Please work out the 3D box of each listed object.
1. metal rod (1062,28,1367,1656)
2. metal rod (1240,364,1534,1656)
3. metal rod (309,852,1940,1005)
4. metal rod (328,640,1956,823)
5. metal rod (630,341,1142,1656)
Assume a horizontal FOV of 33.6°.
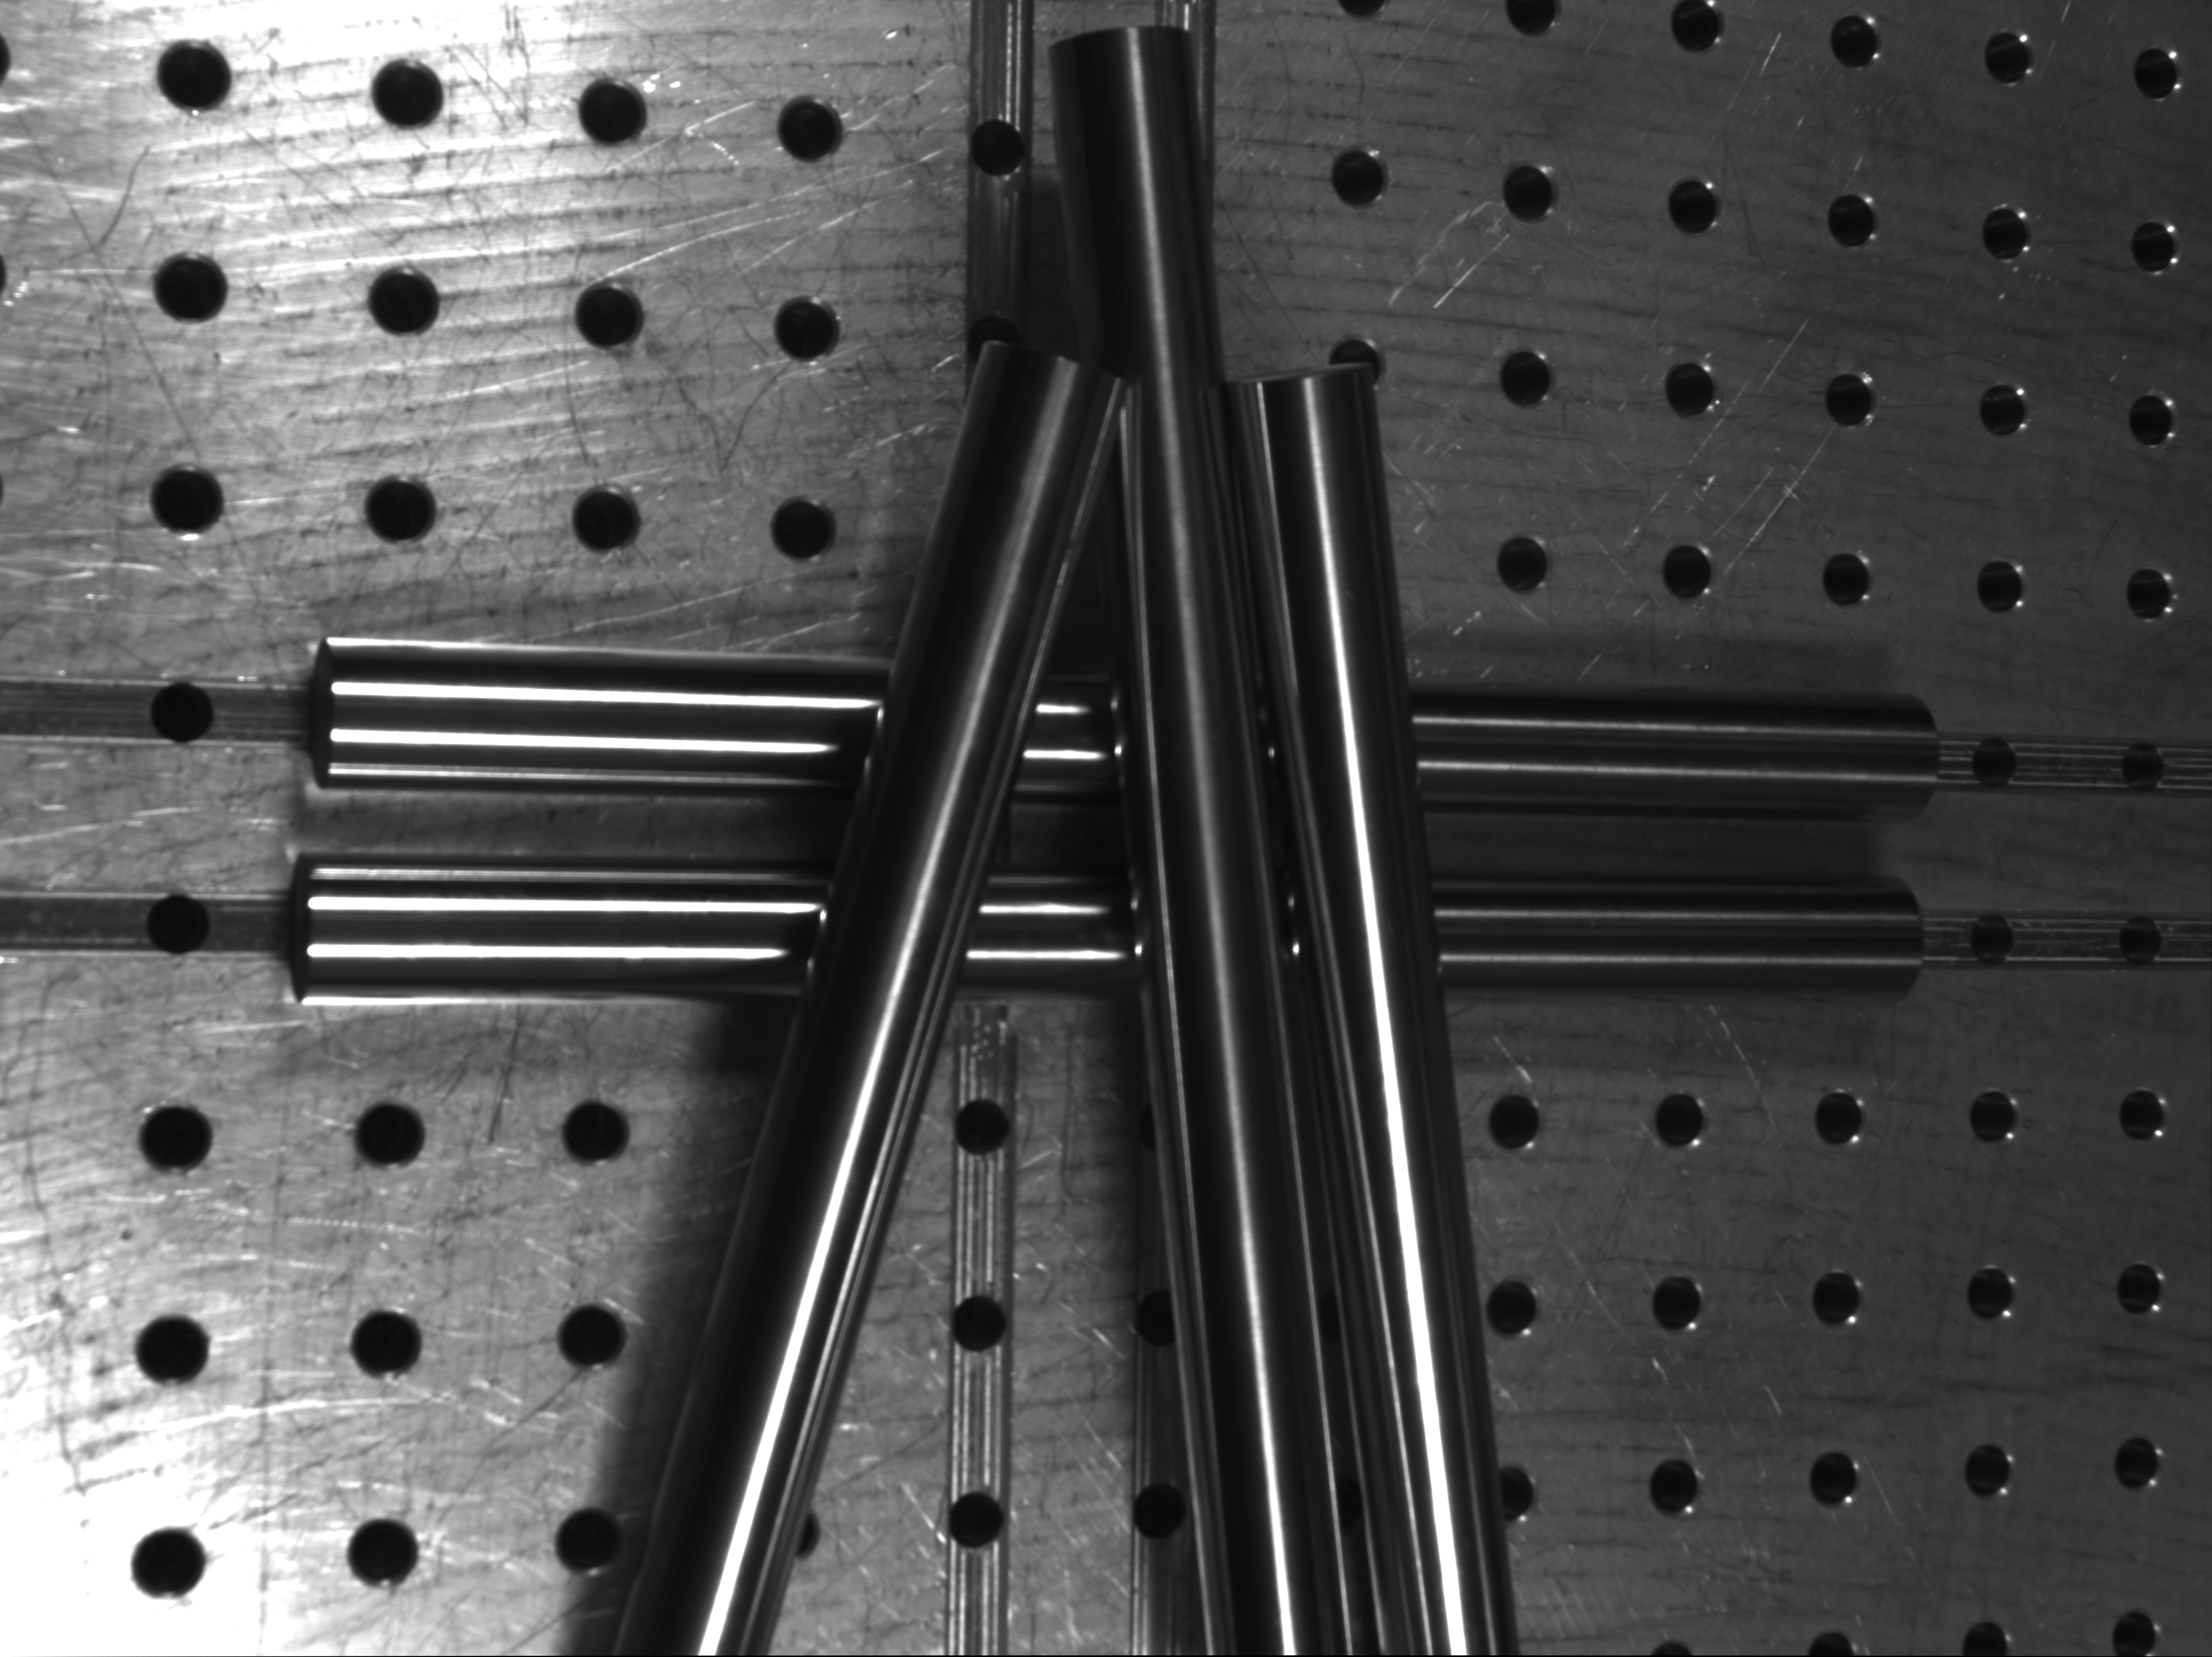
[{"bbox_3d":[0.020,0.016,0.627,0.025,0.025,0.300,-6,92,-20],"label":"metal rod"},{"bbox_3d":[0.054,0.069,0.645,0.025,0.025,0.300,-11,101,-19],"label":"metal rod"},{"bbox_3d":[0.012,0.019,0.650,0.301,0.025,0.025,1,90,-20],"label":"metal rod"},{"bbox_3d":[0.015,-0.016,0.652,0.301,0.025,0.025,1,90,-20],"label":"metal rod"},{"bbox_3d":[-0.047,0.067,0.609,0.025,0.025,0.300,15,92,-19],"label":"metal rod"}]
